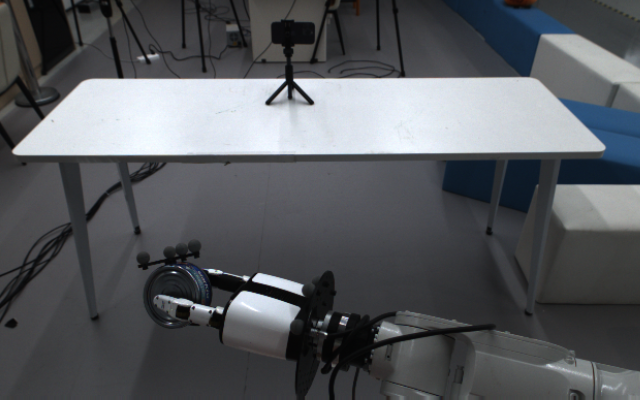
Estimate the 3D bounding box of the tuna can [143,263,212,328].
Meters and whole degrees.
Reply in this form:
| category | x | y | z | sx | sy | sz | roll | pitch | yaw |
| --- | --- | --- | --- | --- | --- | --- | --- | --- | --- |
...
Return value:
| category | x | y | z | sx | sy | sz | roll | pitch | yaw |
| --- | --- | --- | --- | --- | --- | --- | --- | --- | --- |
| tuna can | -0.187 | 0.132 | 0.641 | 0.085 | 0.085 | 0.034 | 12 | 3 | 14 |
